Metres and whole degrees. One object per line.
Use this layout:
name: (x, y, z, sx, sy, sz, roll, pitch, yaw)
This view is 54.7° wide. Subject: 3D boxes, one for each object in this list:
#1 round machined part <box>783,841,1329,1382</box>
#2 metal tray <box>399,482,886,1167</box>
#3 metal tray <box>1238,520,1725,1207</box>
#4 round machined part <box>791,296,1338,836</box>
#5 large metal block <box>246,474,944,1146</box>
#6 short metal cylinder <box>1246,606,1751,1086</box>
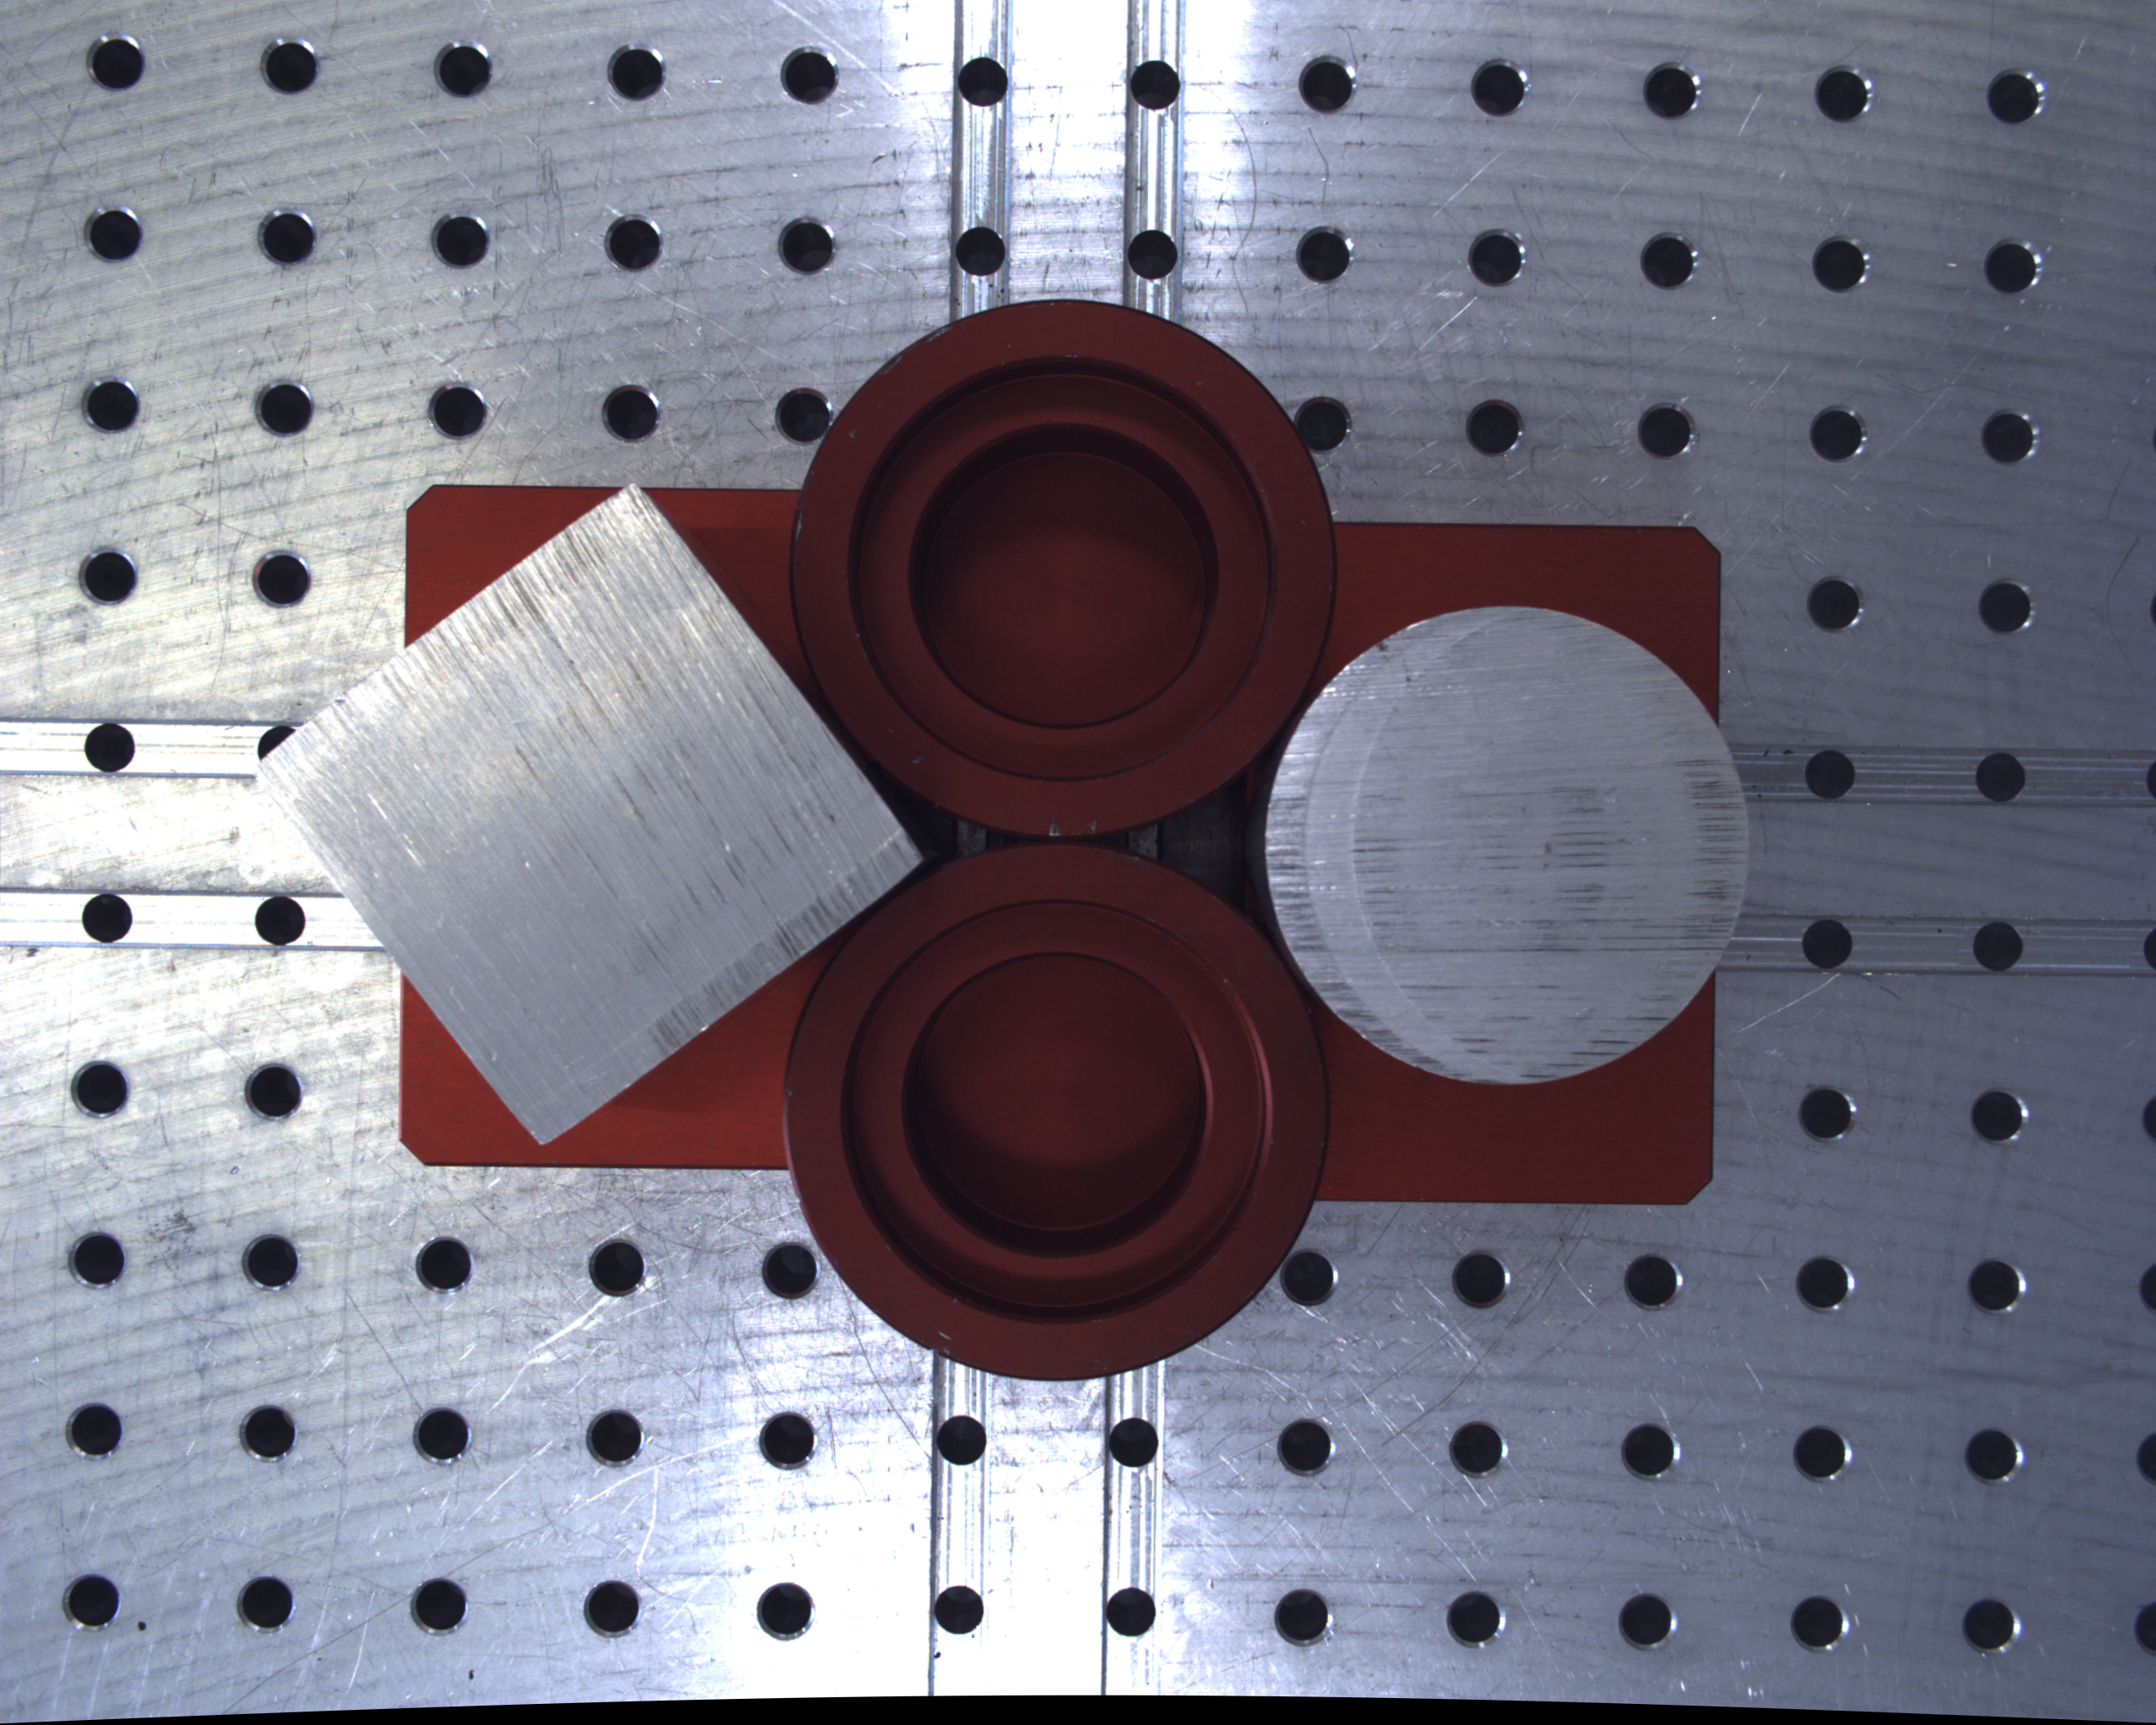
round machined part: (-0.004, 0.045, 0.396, 0.099, 0.042, 0.097, 0, 90, 0)
metal tray: (-0.083, -0.007, 0.410, 0.091, 0.030, 0.129, 1, 90, -2)
metal tray: (0.077, 0.000, 0.409, 0.091, 0.030, 0.129, 1, 90, 0)
round machined part: (-0.002, -0.054, 0.396, 0.099, 0.042, 0.097, 0, 90, 0)
large metal block: (-0.081, -0.009, 0.370, 0.080, 0.050, 0.080, -37, 90, 0)
short metal cylinder: (0.071, -0.003, 0.370, 0.081, 0.050, 0.079, 0, 90, 0)
